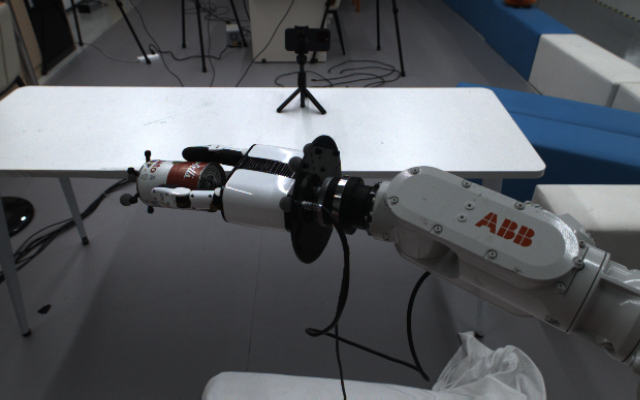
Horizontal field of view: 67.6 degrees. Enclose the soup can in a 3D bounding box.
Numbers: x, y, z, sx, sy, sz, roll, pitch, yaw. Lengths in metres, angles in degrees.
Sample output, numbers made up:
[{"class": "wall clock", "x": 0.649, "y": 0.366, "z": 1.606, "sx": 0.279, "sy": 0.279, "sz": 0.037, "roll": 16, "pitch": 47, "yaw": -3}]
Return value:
[{"class": "soup can", "x": -0.187, "y": -0.019, "z": 0.662, "sx": 0.101, "sy": 0.067, "sz": 0.067, "roll": 4, "pitch": 34, "yaw": 20}]
